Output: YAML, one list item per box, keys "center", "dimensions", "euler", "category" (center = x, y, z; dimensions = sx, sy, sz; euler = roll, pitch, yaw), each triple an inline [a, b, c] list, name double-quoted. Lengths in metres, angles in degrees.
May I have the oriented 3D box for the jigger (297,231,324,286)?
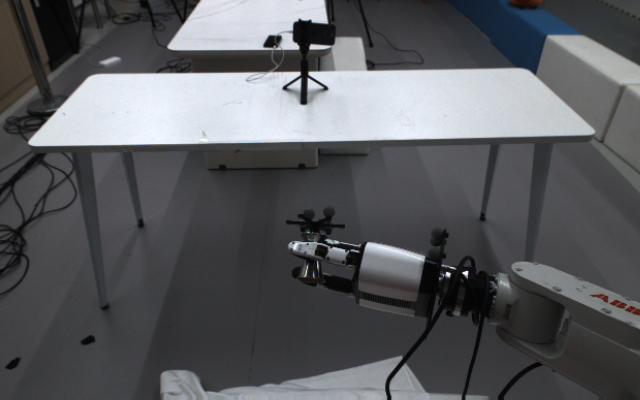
- center: [-0.013, 0.084, 0.712]
  dimensions: [0.043, 0.043, 0.071]
  euler: [5, 71, 4]
  category: "jigger"
